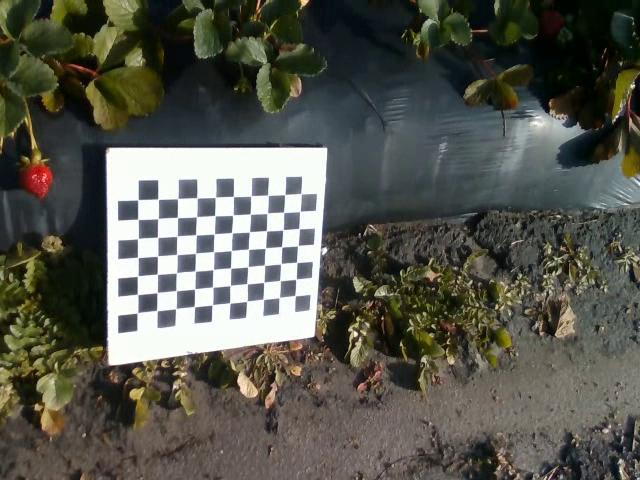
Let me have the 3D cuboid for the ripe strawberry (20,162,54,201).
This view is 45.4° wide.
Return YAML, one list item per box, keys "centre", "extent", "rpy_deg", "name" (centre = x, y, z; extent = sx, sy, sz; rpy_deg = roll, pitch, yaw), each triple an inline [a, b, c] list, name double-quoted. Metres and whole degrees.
- centre: [-0.301, -0.059, 0.805]
  extent: [0.040, 0.044, 0.036]
  rpy_deg: [-23, 13, -19]
  name: "ripe strawberry"
